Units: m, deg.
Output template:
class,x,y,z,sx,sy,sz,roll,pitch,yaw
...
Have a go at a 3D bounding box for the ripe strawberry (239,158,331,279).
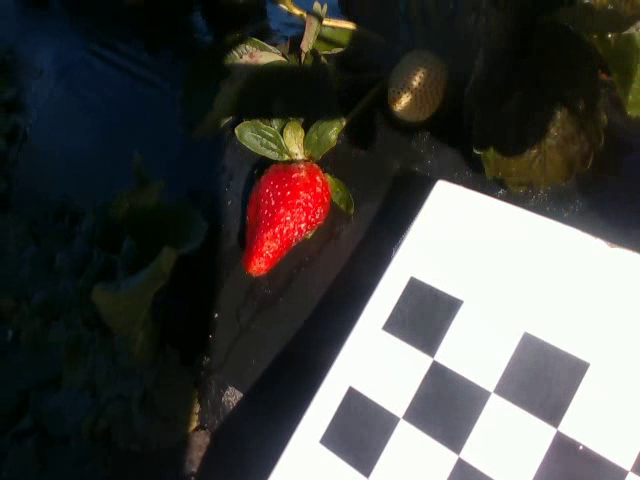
class,x,y,z,sx,sy,sz,roll,pitch,yaw
ripe strawberry,-0.019,-0.009,0.302,0.048,0.069,0.040,6,-26,29
